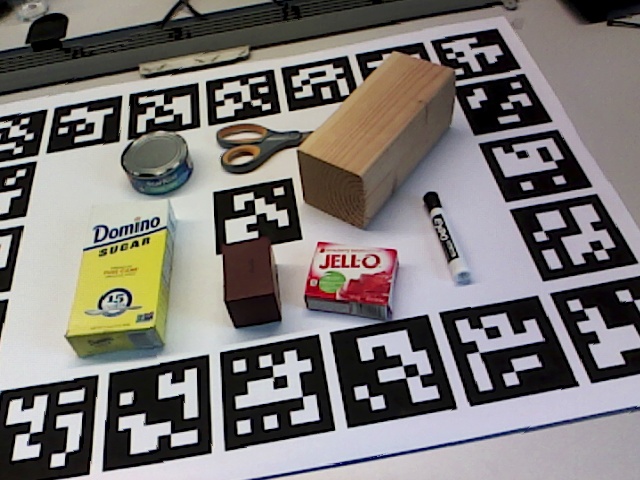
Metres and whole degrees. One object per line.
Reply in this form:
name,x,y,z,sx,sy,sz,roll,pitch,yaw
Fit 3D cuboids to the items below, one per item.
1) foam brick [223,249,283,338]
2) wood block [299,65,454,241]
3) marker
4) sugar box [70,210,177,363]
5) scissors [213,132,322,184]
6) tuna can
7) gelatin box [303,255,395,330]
foam brick,-0.072,0.058,0.664,0.053,0.051,0.078,-9,53,1
wood block,0.075,-0.110,0.756,0.090,0.090,0.206,26,60,26
marker,0.135,0.006,0.696,0.019,0.019,0.121,-9,54,1
sugar box,-0.218,0.048,0.703,0.093,0.045,0.177,-6,52,2
scissors,-0.046,-0.118,0.822,0.203,0.016,0.088,-6,52,7
tuna can,-0.216,-0.088,0.808,0.086,0.033,0.086,-4,53,5
gelatin box,0.033,0.055,0.669,0.089,0.030,0.073,5,54,12
